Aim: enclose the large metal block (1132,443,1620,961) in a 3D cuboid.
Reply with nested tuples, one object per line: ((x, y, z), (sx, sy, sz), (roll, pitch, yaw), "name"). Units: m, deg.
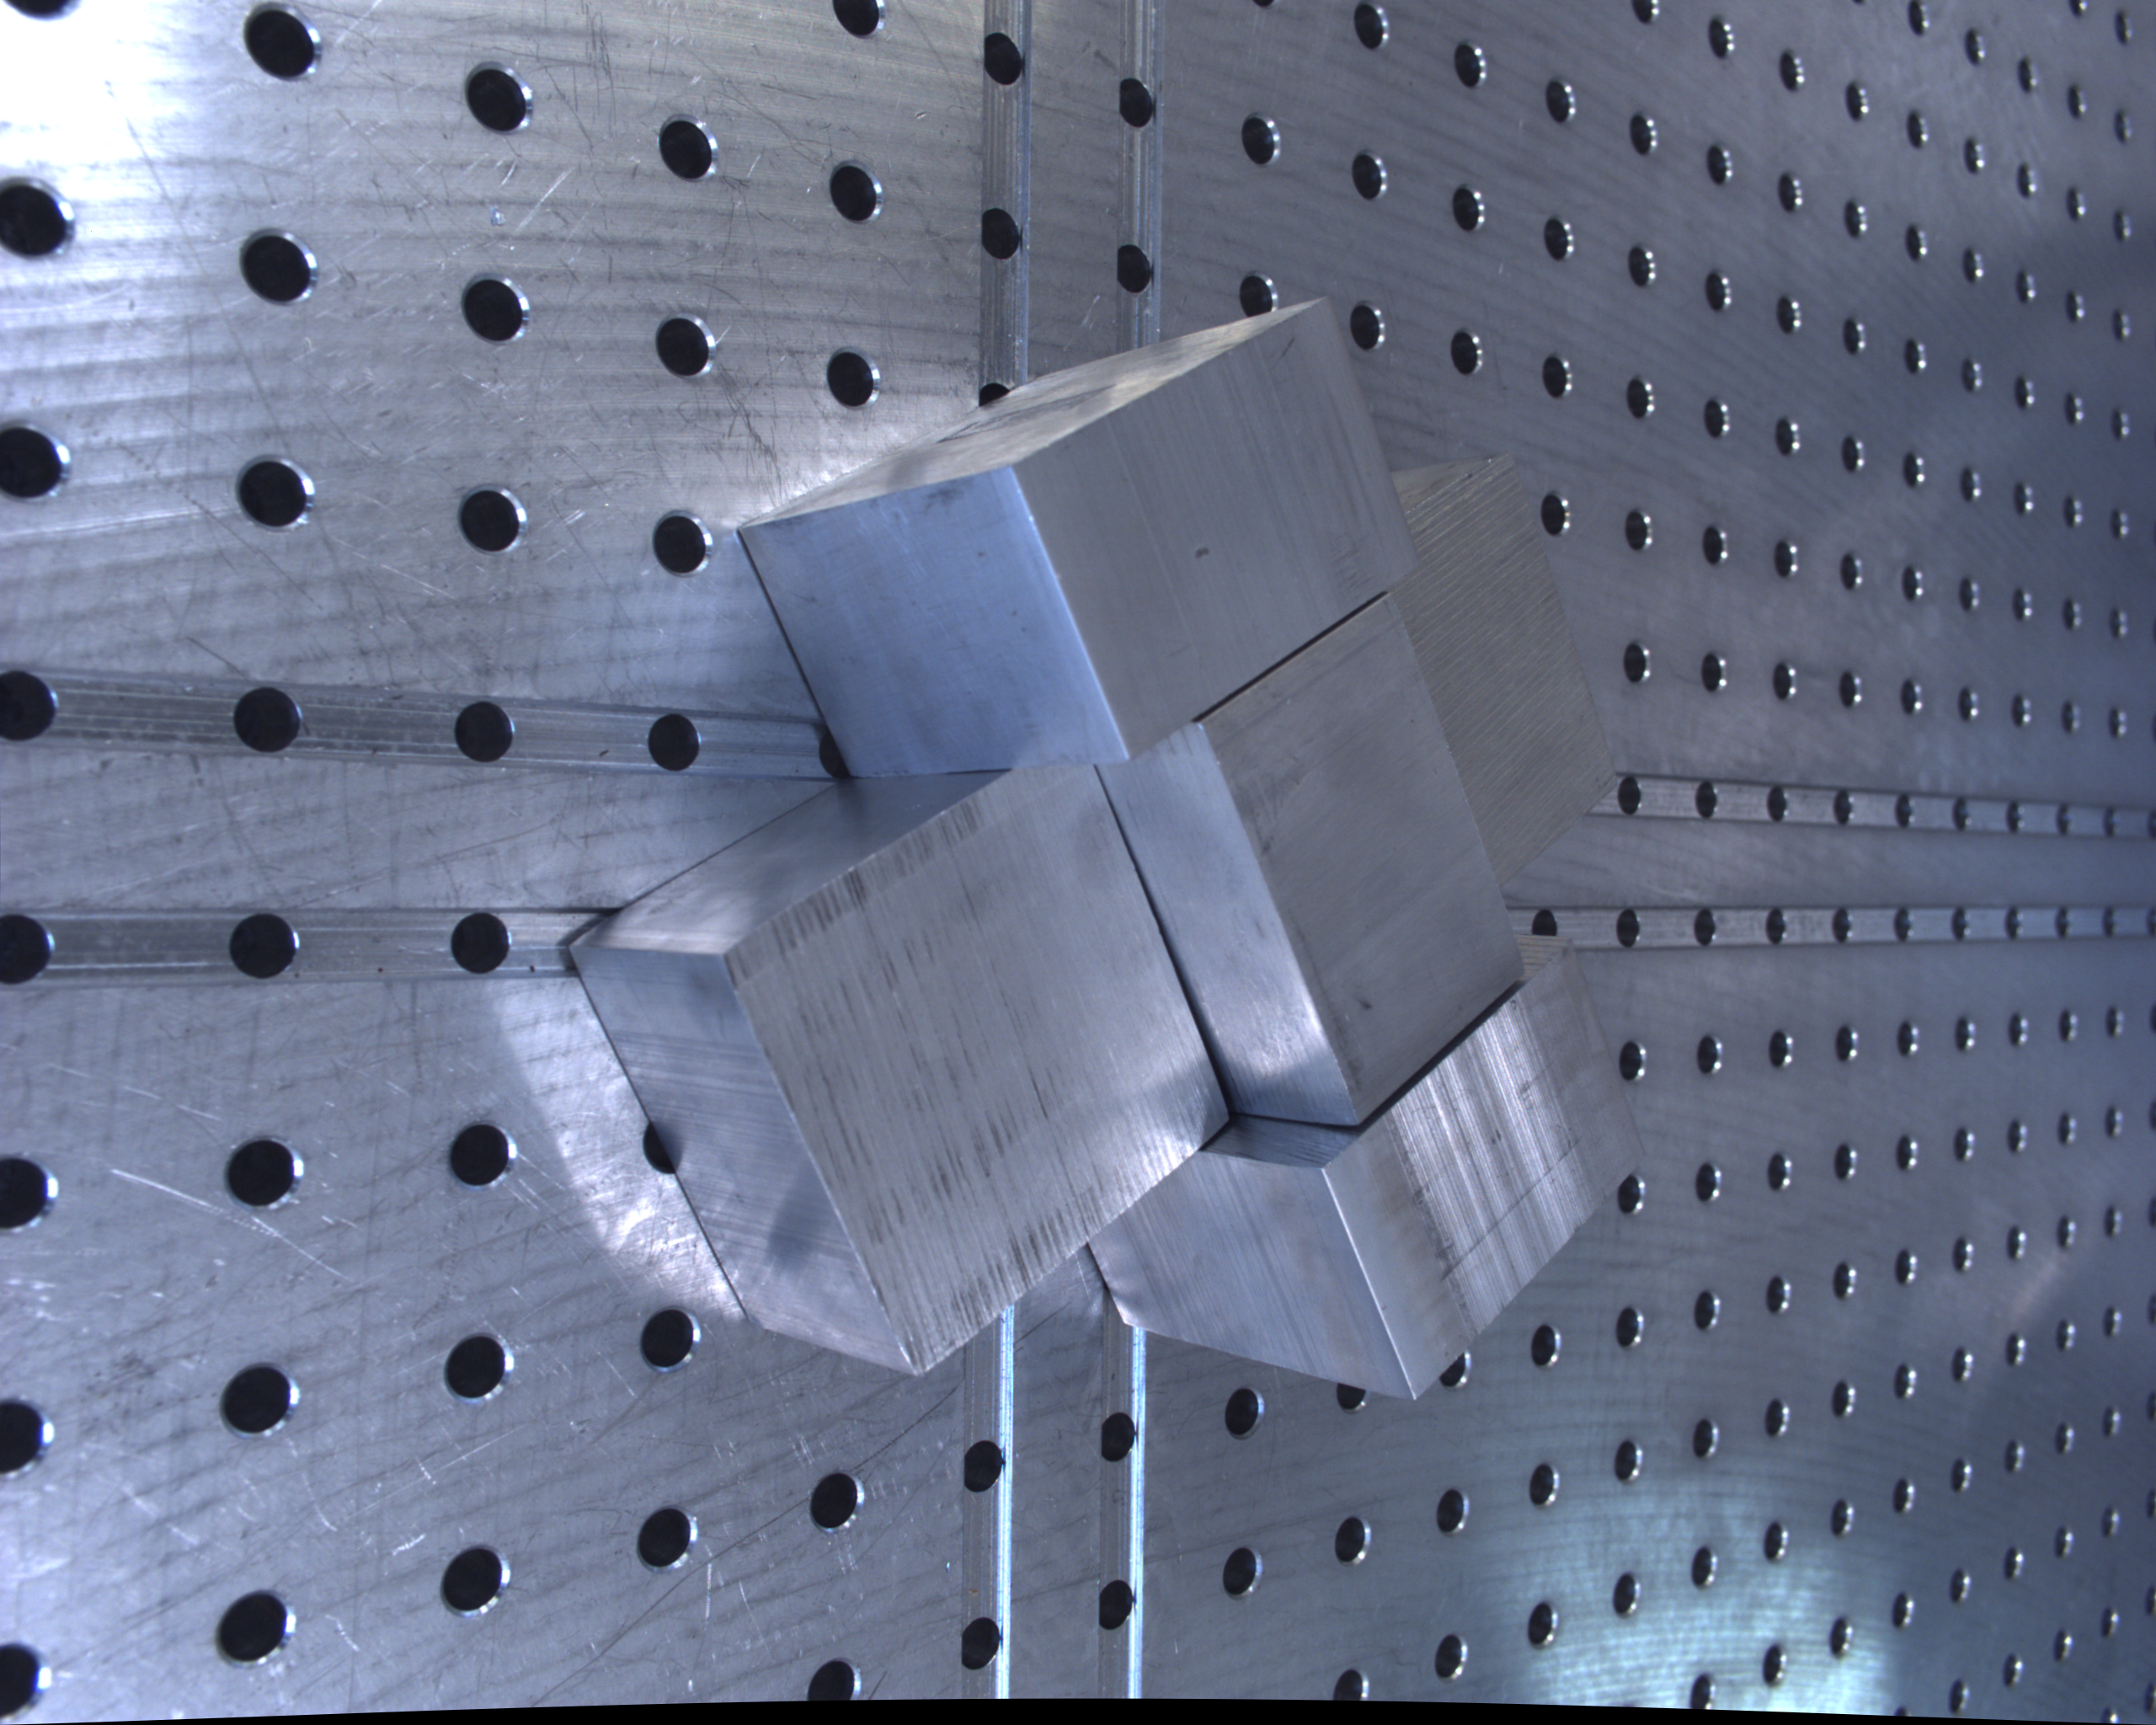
((0.062, -0.034, 0.443), (0.080, 0.050, 0.080), (-36, 114, -34), "large metal block")

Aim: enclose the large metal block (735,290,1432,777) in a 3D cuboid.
((0.001, -0.057, 0.372), (0.080, 0.080, 0.050), (-35, 111, -34), "large metal block")

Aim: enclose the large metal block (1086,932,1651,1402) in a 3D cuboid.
((0.052, 0.055, 0.416), (0.080, 0.080, 0.050), (-36, 112, -35), "large metal block")

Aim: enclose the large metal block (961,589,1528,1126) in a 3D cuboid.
((0.027, -0.001, 0.395), (0.050, 0.080, 0.080), (-36, 112, -34), "large metal block")

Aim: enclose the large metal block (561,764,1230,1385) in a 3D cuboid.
((-0.030, 0.031, 0.368), (0.080, 0.050, 0.080), (-33, 110, -35), "large metal block")
